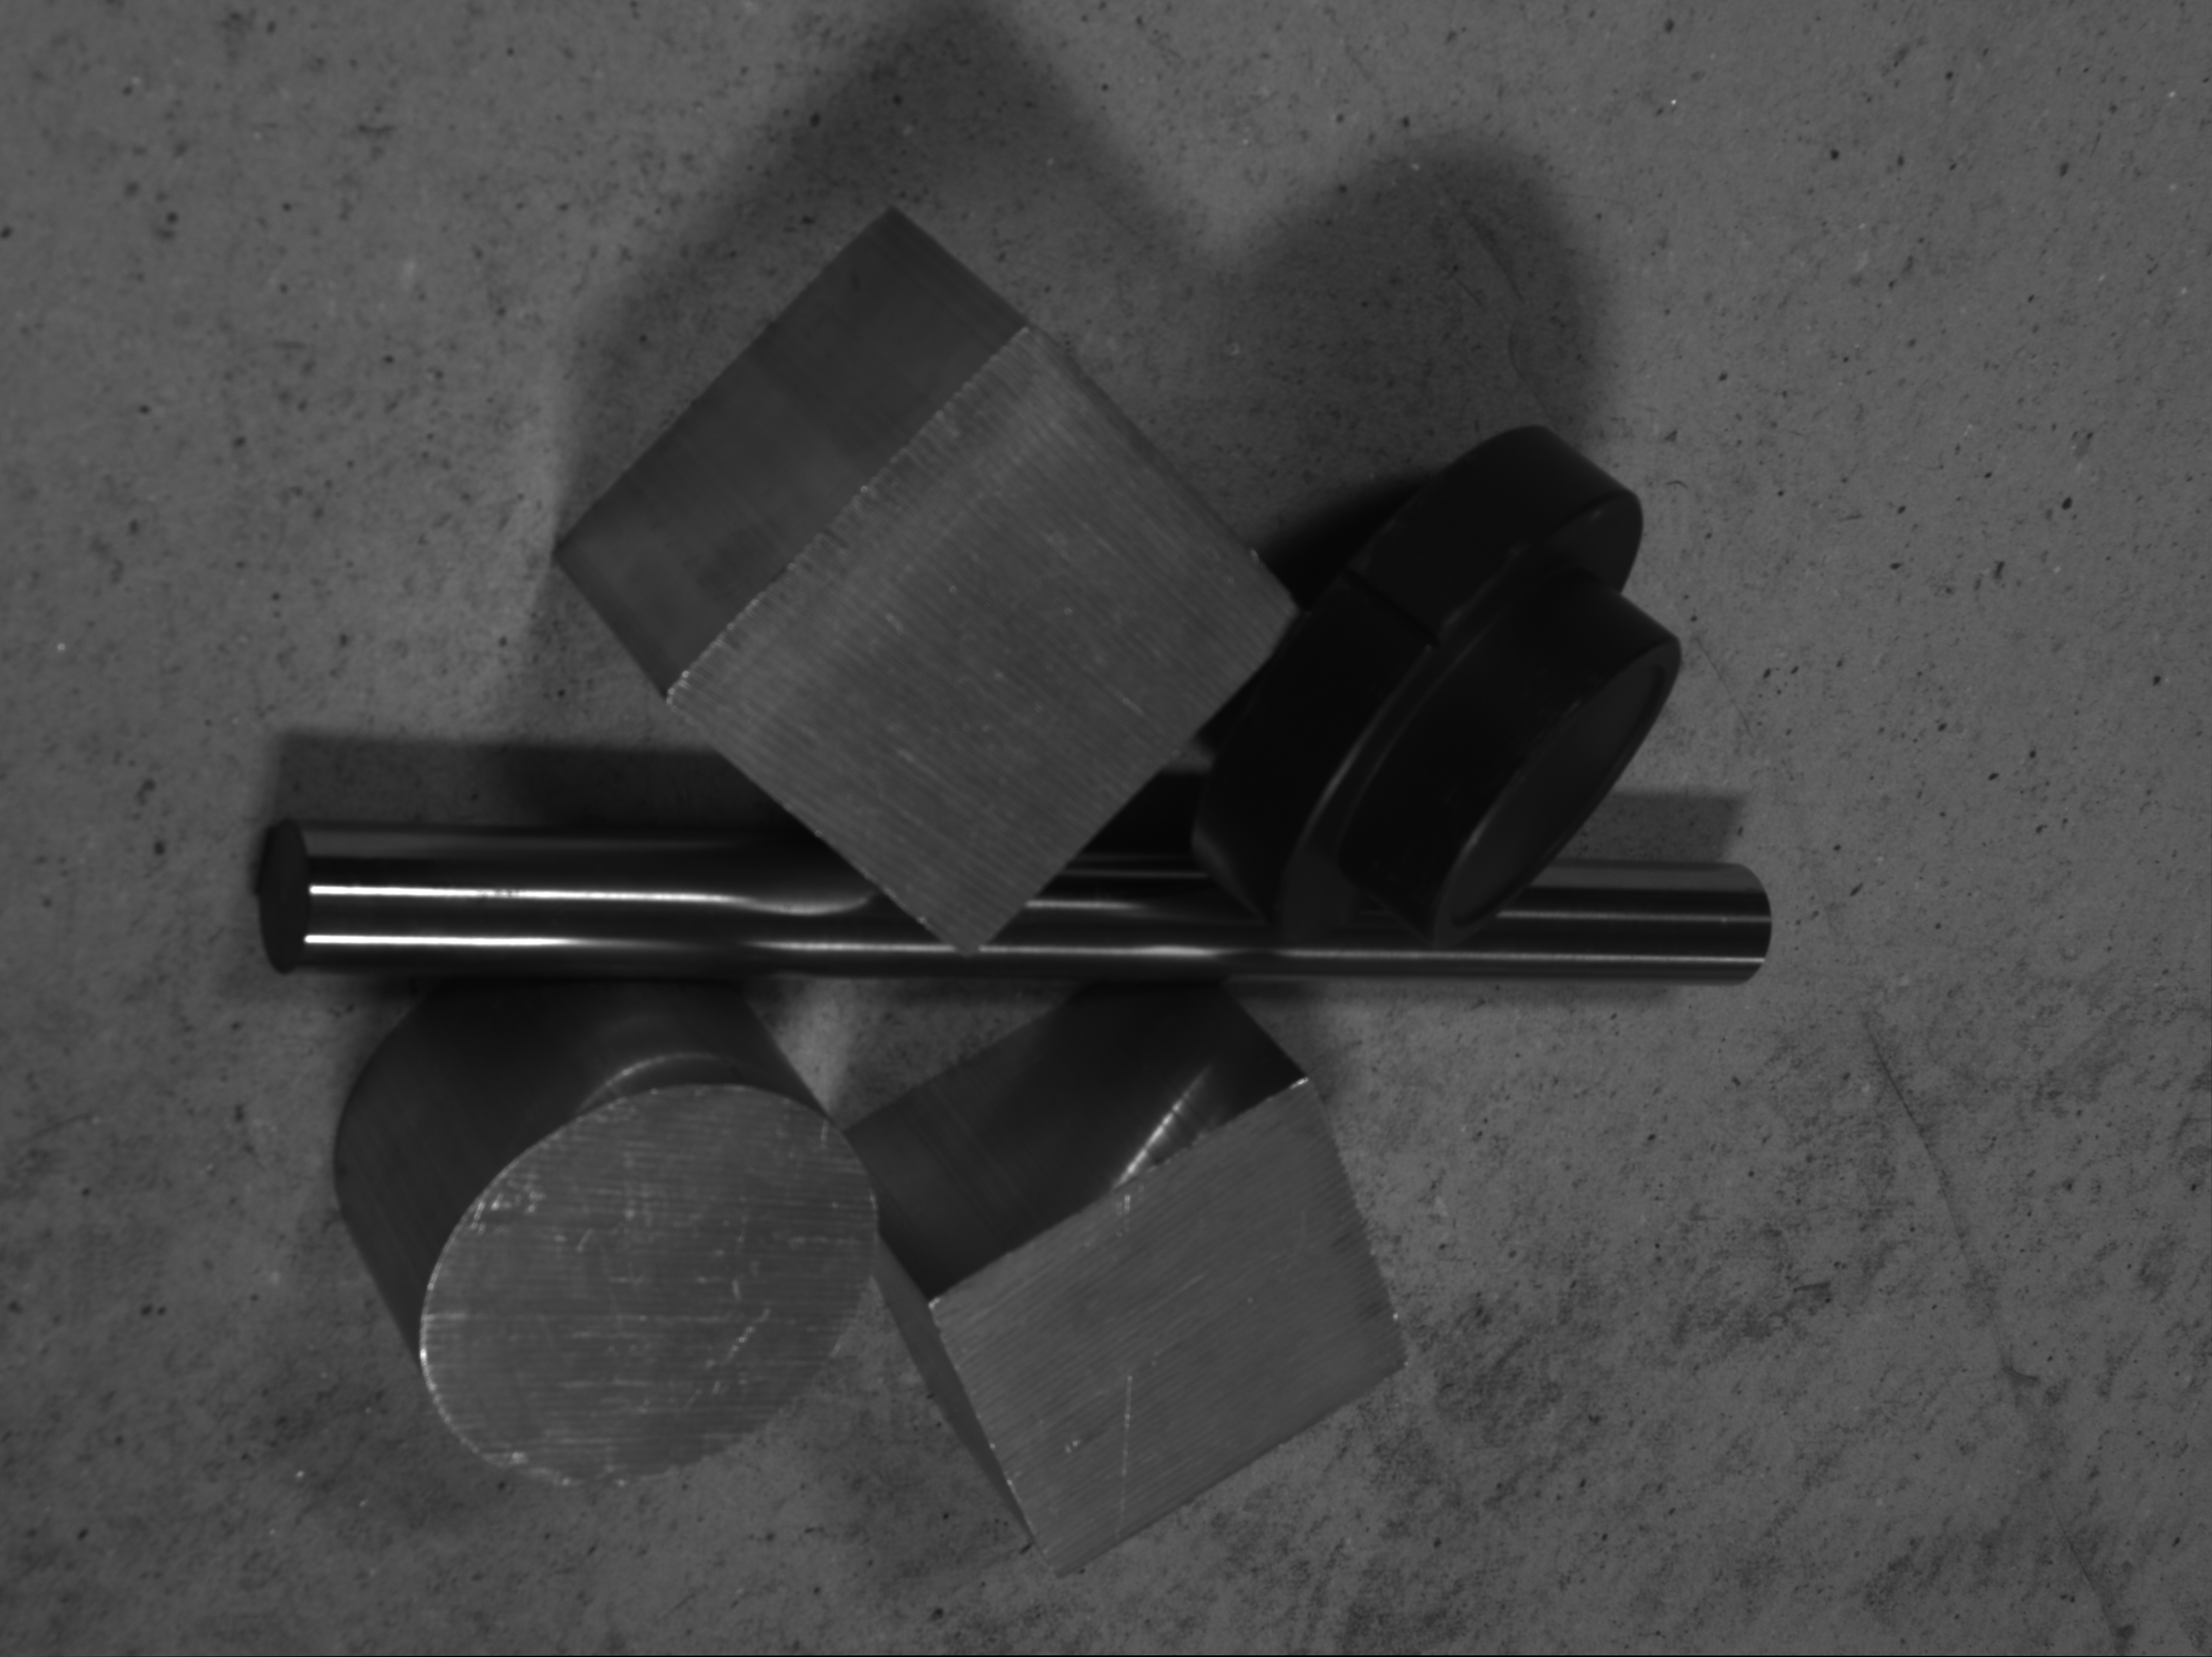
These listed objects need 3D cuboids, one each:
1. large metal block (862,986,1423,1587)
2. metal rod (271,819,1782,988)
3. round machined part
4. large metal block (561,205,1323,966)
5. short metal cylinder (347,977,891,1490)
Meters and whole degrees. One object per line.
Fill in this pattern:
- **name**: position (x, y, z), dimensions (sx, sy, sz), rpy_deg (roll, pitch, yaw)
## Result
- **large metal block**: position (0.005, 0.081, 0.688), dimensions (0.080, 0.050, 0.080), rpy_deg (-29, 129, -11)
- **metal rod**: position (-0.001, 0.015, 0.662), dimensions (0.301, 0.025, 0.025), rpy_deg (2, 117, -31)
- **round machined part**: position (0.064, -0.018, 0.636), dimensions (0.098, 0.042, 0.098), rpy_deg (-42, 160, -19)
- **large metal block**: position (-0.026, -0.039, 0.593), dimensions (0.080, 0.050, 0.080), rpy_deg (-45, 130, 2)
- **short metal cylinder**: position (-0.084, 0.065, 0.626), dimensions (0.080, 0.050, 0.080), rpy_deg (-15, 125, -22)
